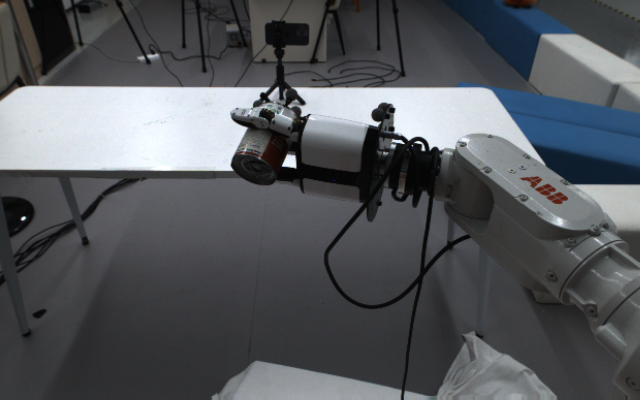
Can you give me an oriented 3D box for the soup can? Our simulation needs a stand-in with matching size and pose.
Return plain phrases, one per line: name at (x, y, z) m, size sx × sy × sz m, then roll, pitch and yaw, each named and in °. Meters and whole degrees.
soup can at (-0.077, -0.081, 0.685) m, size 0.067 × 0.067 × 0.101 m, roll 12°, pitch 59°, yaw 14°
